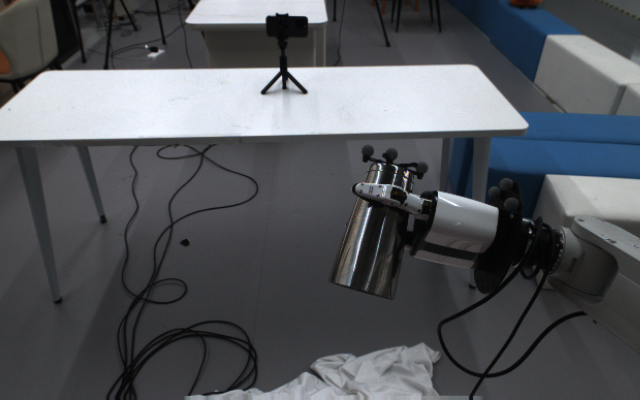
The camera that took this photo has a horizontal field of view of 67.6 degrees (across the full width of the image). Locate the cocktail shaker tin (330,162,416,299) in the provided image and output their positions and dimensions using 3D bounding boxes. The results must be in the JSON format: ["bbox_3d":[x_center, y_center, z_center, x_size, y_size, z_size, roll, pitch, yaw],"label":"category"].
[{"bbox_3d":[0.080,0.038,0.659,0.093,0.093,0.170,13,79,15],"label":"cocktail shaker tin"}]
